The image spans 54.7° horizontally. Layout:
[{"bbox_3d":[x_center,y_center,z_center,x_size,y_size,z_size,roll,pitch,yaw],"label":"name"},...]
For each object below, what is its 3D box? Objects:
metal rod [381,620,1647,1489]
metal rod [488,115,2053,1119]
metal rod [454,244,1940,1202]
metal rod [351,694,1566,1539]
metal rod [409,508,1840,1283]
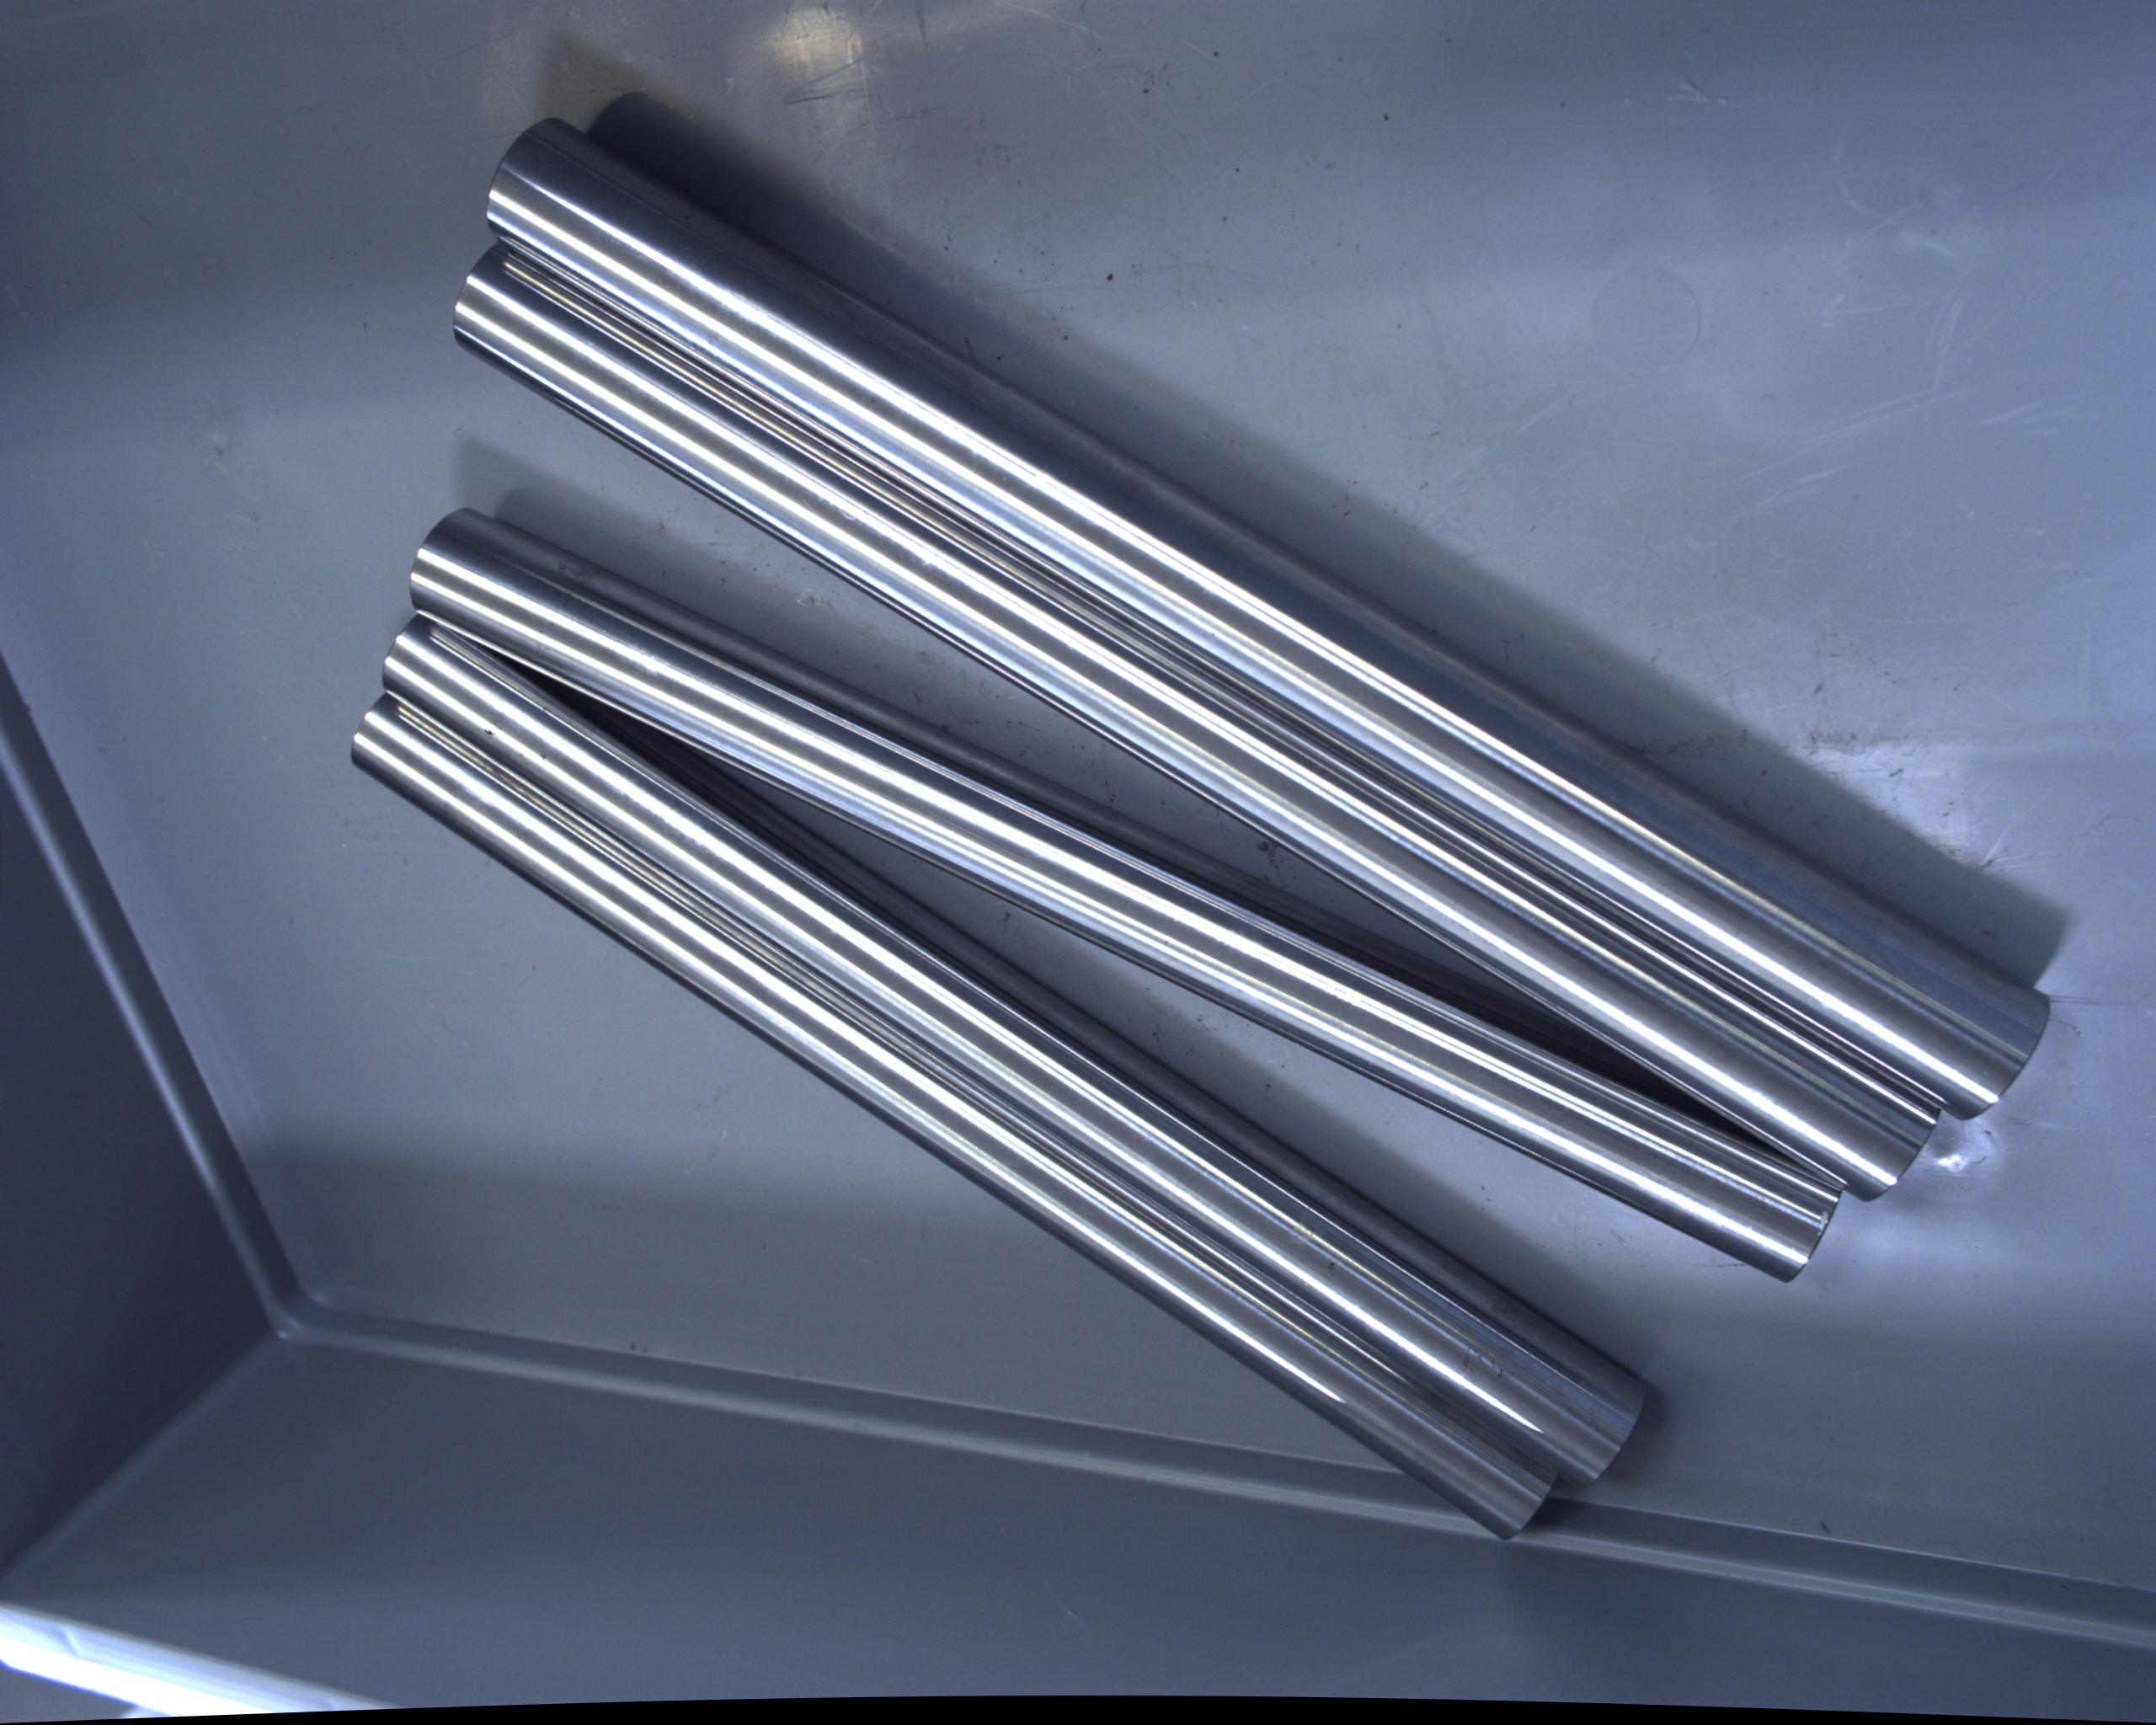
[{"bbox_3d":[-0.017,0.035,0.438,0.301,0.025,0.025,33,129,6],"label":"metal rod"},{"bbox_3d":[0.027,-0.047,0.364,0.301,0.025,0.025,32,129,7],"label":"metal rod"},{"bbox_3d":[0.016,-0.030,0.380,0.301,0.025,0.025,32,129,7],"label":"metal rod"},{"bbox_3d":[-0.029,0.050,0.453,0.301,0.025,0.025,33,129,6],"label":"metal rod"},{"bbox_3d":[0.001,0.001,0.407,0.301,0.025,0.025,26,128,12],"label":"metal rod"}]
